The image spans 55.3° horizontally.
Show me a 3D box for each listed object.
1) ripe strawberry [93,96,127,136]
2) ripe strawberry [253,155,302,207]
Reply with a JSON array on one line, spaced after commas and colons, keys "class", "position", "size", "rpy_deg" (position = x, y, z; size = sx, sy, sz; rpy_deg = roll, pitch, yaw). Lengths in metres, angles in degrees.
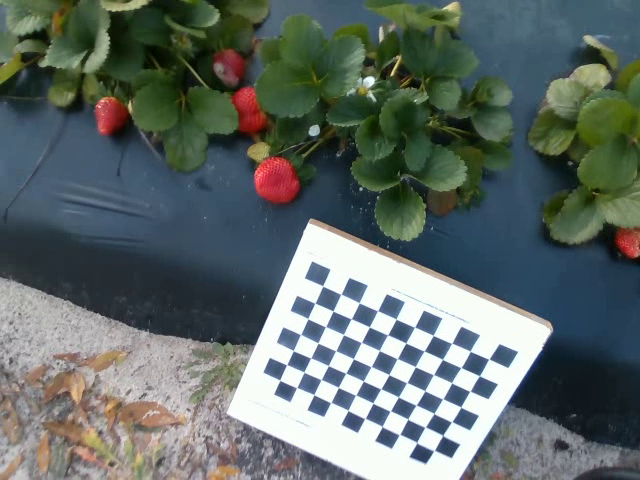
[{"class": "ripe strawberry", "position": [-0.102, -0.058, 0.290], "size": [0.018, 0.022, 0.017], "rpy_deg": [4, -23, 6]}, {"class": "ripe strawberry", "position": [-0.023, -0.026, 0.287], "size": [0.022, 0.025, 0.030], "rpy_deg": [17, 29, 29]}]
